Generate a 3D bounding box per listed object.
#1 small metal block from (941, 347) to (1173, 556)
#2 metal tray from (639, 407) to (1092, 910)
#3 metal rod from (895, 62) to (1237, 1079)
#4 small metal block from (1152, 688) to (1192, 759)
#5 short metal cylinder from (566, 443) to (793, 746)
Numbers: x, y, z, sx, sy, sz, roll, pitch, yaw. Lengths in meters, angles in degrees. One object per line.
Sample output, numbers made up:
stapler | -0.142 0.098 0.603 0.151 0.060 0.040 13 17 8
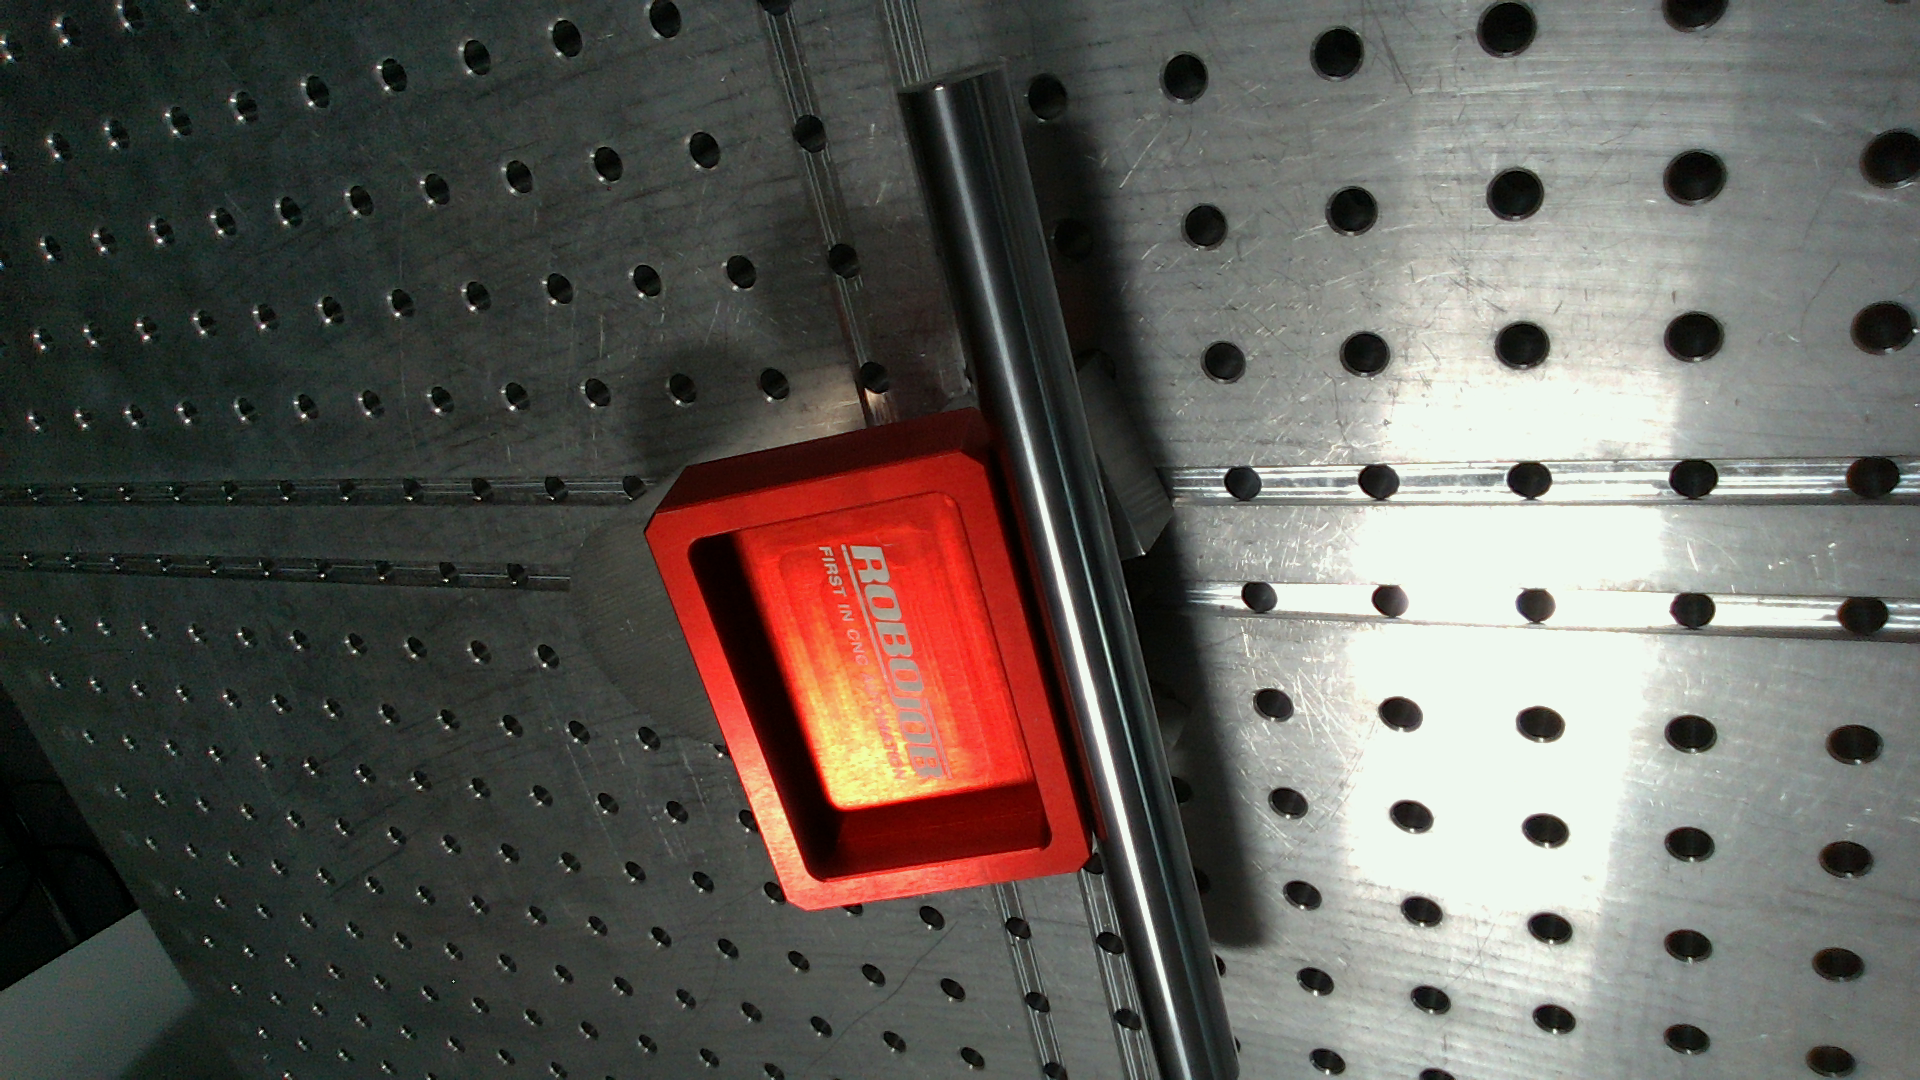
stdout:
small metal block | 0.022 -0.018 0.373 0.050 0.025 0.050 -16 110 35
metal tray | -0.021 0.036 0.375 0.090 0.030 0.130 -11 115 11
metal rod | 0.035 0.030 0.363 0.025 0.025 0.300 -2 118 29
small metal block | 0.033 0.060 0.414 0.050 0.025 0.050 34 129 6
short metal cylinder | -0.074 0.017 0.429 0.080 0.050 0.080 13 124 21
